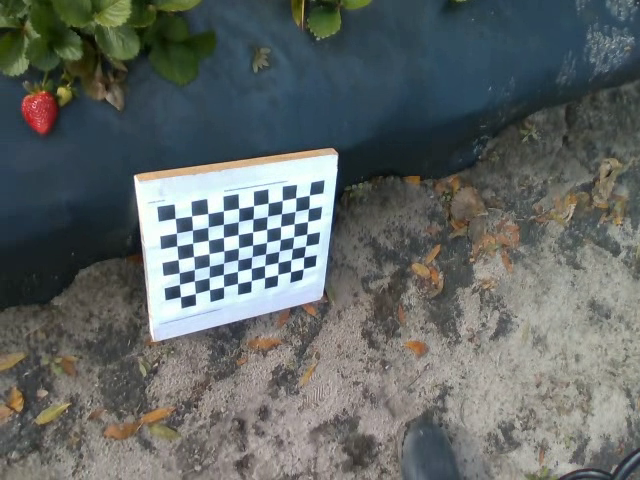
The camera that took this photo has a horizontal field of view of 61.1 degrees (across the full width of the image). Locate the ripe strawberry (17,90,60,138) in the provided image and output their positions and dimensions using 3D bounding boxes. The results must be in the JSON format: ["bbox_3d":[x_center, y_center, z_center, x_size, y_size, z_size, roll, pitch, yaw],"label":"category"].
[{"bbox_3d":[-0.335,-0.151,0.649,0.045,0.058,0.050,-8,-14,-26],"label":"ripe strawberry"}]
